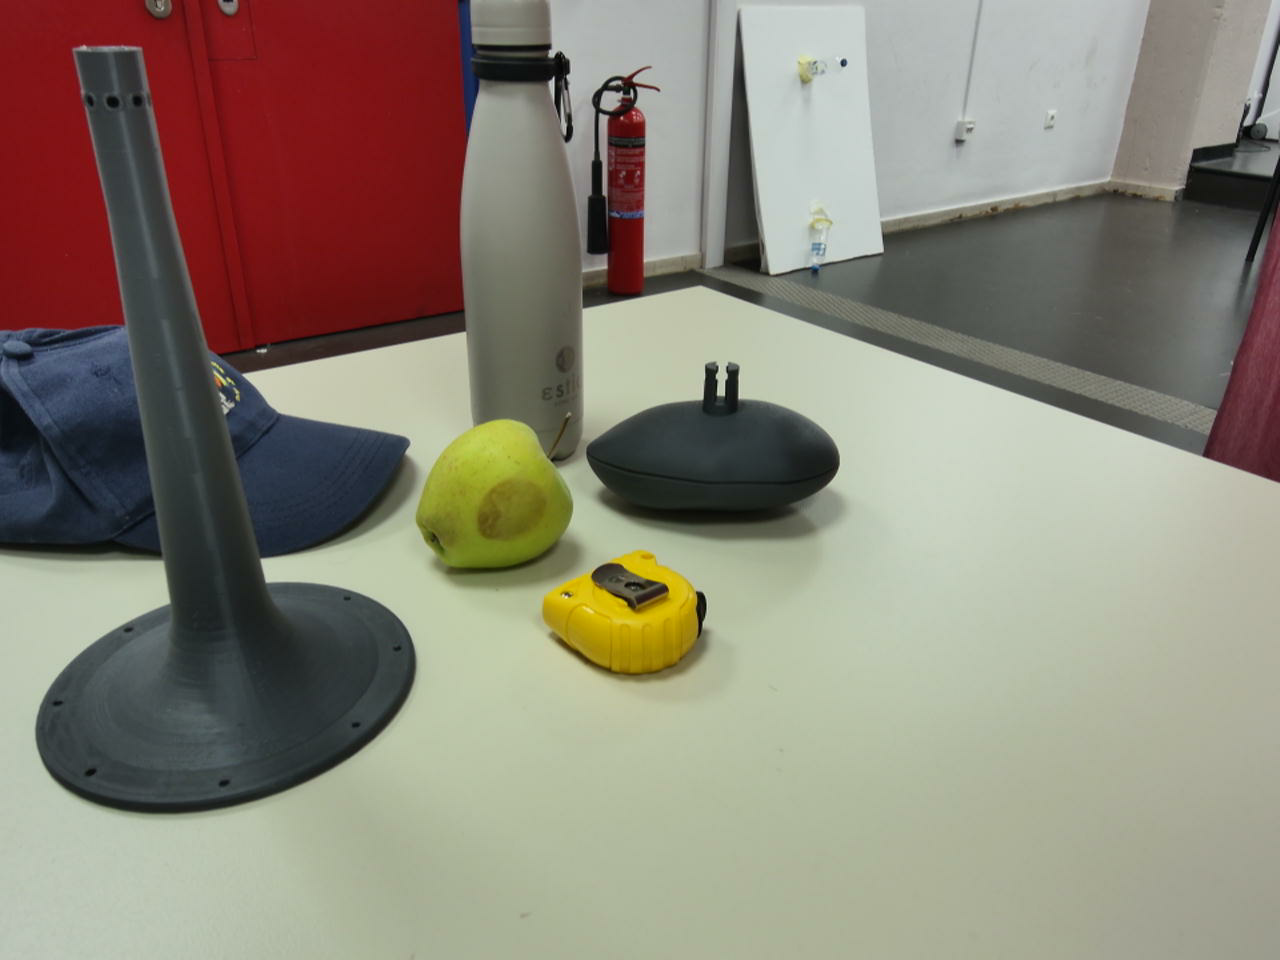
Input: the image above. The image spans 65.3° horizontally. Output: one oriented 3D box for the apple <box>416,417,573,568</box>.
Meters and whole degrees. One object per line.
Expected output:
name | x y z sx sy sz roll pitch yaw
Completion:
apple | -0.074 0.006 0.516 0.077 0.075 0.072 5 25 6
